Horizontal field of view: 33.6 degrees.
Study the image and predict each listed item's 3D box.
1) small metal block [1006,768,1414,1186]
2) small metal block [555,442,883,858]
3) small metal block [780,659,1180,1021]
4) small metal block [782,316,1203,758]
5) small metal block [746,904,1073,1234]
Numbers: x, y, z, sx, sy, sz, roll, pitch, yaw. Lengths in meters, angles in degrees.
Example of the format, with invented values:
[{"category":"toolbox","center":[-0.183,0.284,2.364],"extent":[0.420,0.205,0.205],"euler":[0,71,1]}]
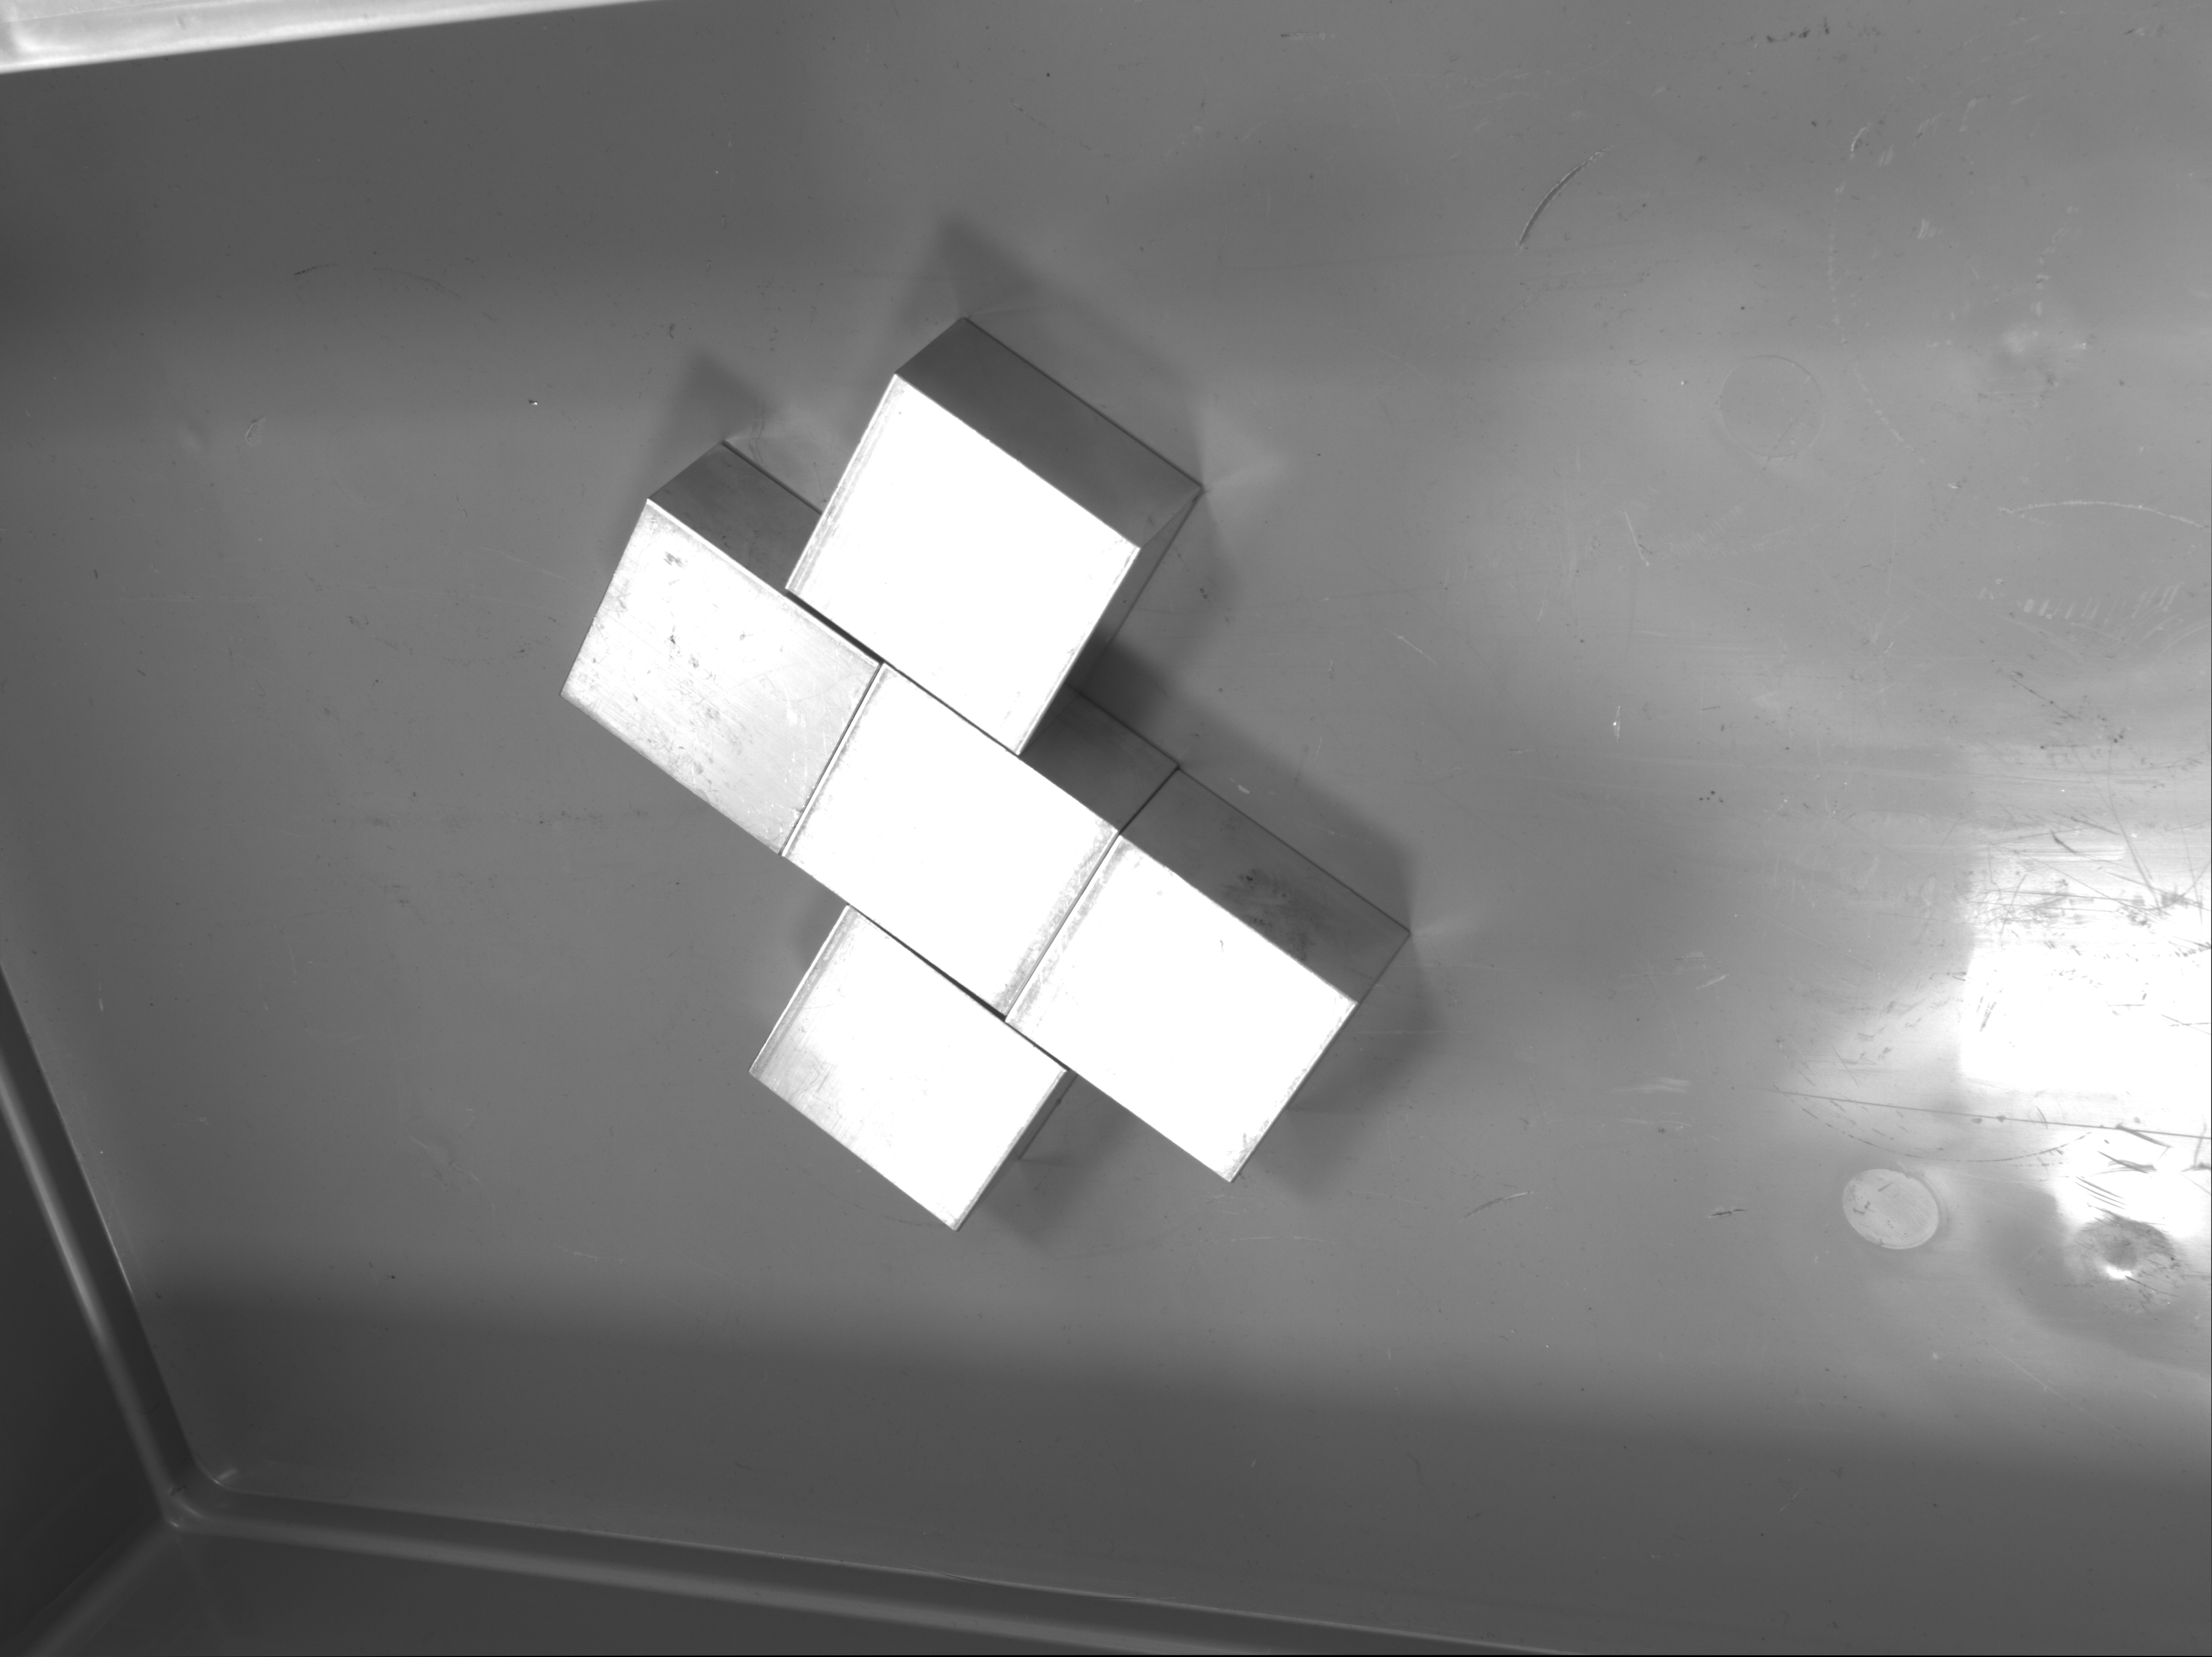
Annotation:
[{"category":"small metal block","center":[0.018,0.026,0.647],"extent":[0.050,0.025,0.050],"euler":[36,129,5]},{"category":"small metal block","center":[-0.064,-0.032,0.655],"extent":[0.050,0.025,0.050],"euler":[36,129,5]},{"category":"small metal block","center":[-0.023,-0.003,0.650],"extent":[0.050,0.025,0.050],"euler":[36,129,5]},{"category":"small metal block","center":[-0.020,-0.049,0.620],"extent":[0.050,0.025,0.050],"euler":[36,128,4]},{"category":"small metal block","center":[-0.032,0.039,0.682],"extent":[0.050,0.025,0.050],"euler":[37,130,4]}]
